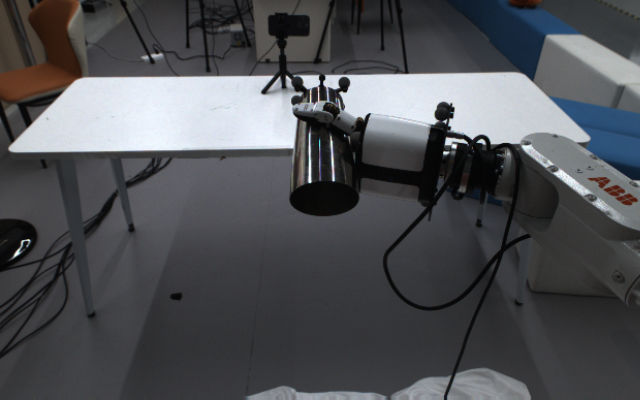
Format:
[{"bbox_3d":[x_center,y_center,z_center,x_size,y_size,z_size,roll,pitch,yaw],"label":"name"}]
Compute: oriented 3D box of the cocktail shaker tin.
[{"bbox_3d":[0.002,-0.074,0.672,0.093,0.093,0.170,0,59,-3],"label":"cocktail shaker tin"}]
